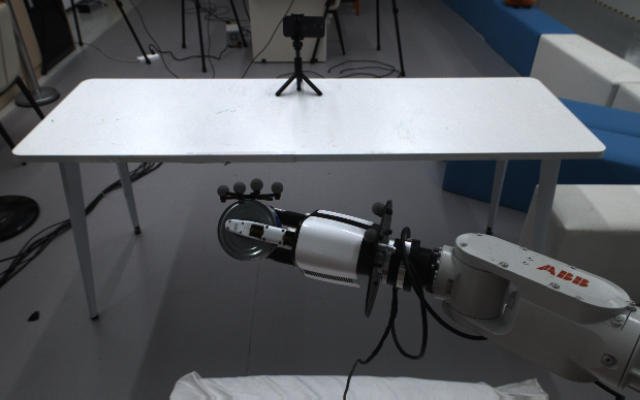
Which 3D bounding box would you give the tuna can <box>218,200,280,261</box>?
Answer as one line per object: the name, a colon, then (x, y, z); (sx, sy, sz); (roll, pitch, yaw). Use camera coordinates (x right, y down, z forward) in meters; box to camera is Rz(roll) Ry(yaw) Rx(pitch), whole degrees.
tuna can: (-0.093, 0.043, 0.681); (0.085, 0.085, 0.034); (10, -6, 11)
